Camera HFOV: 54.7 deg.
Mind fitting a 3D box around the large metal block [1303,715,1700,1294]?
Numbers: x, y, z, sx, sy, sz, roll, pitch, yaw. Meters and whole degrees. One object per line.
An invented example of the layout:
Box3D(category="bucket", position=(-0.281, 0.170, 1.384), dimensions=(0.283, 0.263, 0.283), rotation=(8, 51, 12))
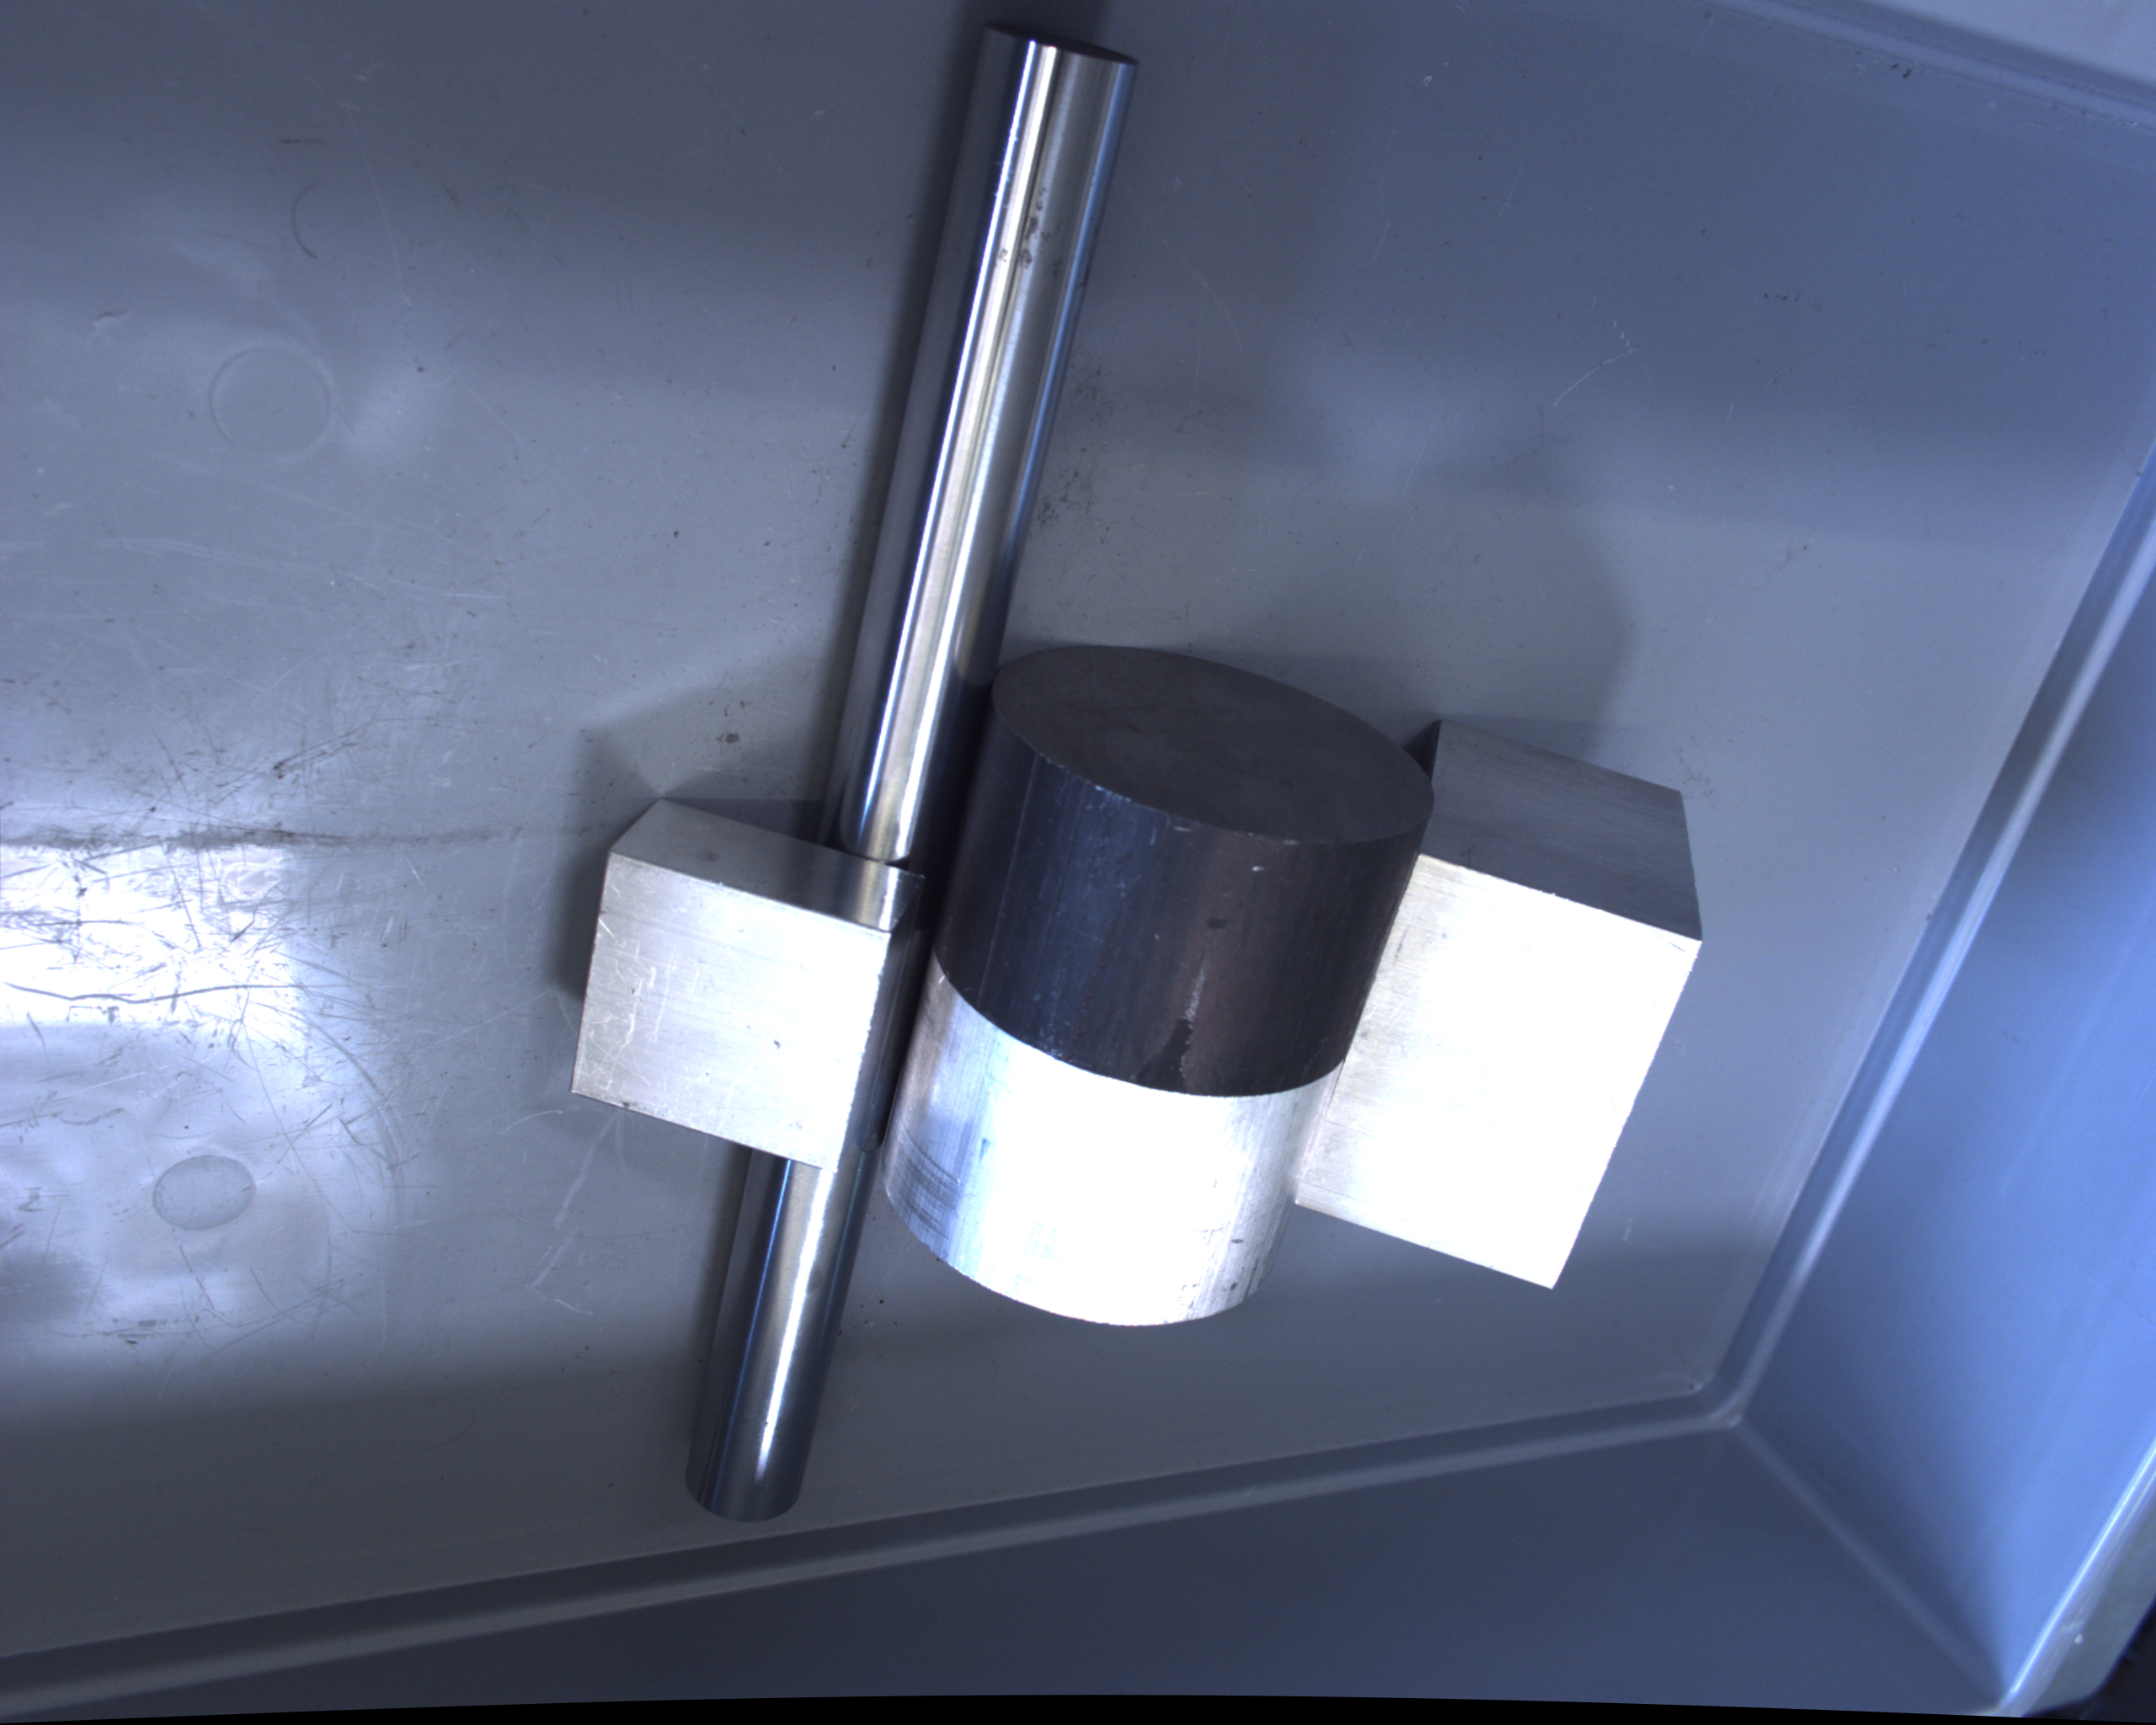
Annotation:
Box3D(category="large metal block", position=(0.085, 0.026, 0.424), dimensions=(0.050, 0.080, 0.079), rotation=(18, 115, 5))

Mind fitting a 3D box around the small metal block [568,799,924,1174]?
Box3D(category="small metal block", position=(-0.059, 0.022, 0.373), dimensions=(0.050, 0.025, 0.050), rotation=(16, 114, 3))

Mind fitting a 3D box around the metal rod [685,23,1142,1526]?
Box3D(category="metal rod", position=(-0.037, 0.003, 0.387), dimensions=(0.025, 0.025, 0.298), rotation=(0, 118, -29))

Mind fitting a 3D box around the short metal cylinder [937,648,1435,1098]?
Box3D(category="short metal cylinder", position=(0.019, 0.000, 0.380), dimensions=(0.081, 0.080, 0.050), rotation=(0, 118, -29))

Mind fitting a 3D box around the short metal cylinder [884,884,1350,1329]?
Box3D(category="short metal cylinder", position=(0.007, 0.044, 0.402), dimensions=(0.081, 0.080, 0.050), rotation=(0, 118, -29))
